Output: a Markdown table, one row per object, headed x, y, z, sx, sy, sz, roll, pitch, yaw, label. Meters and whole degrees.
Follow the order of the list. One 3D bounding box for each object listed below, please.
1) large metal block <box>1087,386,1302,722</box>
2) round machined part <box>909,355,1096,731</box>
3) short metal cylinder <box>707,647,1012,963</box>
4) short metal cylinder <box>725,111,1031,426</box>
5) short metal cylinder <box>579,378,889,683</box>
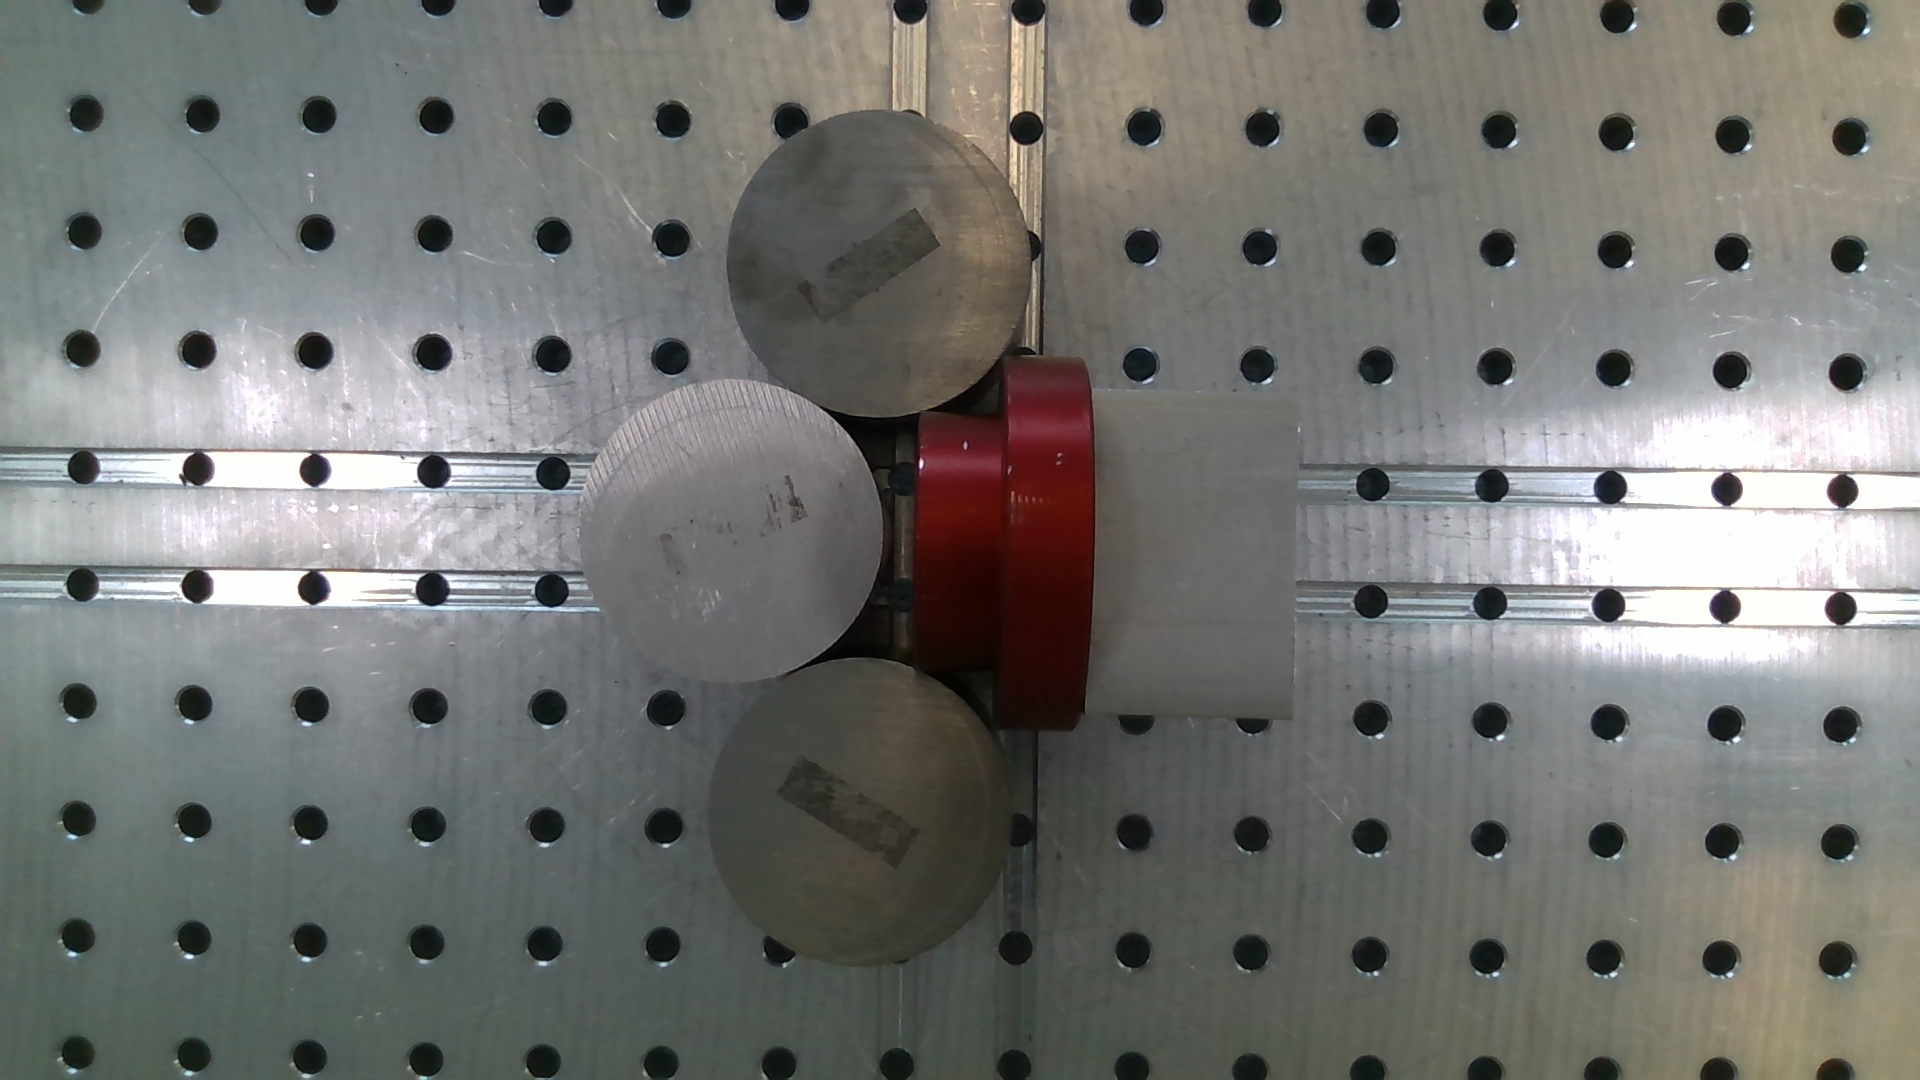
| x | y | z | sx | sy | sz | roll | pitch | yaw | label |
| --- | --- | --- | --- | --- | --- | --- | --- | --- | --- |
| 0.056 | 0.003 | 0.370 | 0.050 | 0.080 | 0.080 | 1 | 90 | 0 | large metal block |
| 0.009 | 0.000 | 0.360 | 0.042 | 0.098 | 0.098 | 2 | 90 | -1 | round machined part |
| -0.026 | 0.071 | 0.386 | 0.080 | 0.050 | 0.080 | 0 | 90 | 0 | short metal cylinder |
| -0.021 | -0.072 | 0.385 | 0.080 | 0.050 | 0.080 | 0 | 90 | 0 | short metal cylinder |
| -0.060 | -0.002 | 0.386 | 0.080 | 0.050 | 0.080 | 0 | 90 | 0 | short metal cylinder |
